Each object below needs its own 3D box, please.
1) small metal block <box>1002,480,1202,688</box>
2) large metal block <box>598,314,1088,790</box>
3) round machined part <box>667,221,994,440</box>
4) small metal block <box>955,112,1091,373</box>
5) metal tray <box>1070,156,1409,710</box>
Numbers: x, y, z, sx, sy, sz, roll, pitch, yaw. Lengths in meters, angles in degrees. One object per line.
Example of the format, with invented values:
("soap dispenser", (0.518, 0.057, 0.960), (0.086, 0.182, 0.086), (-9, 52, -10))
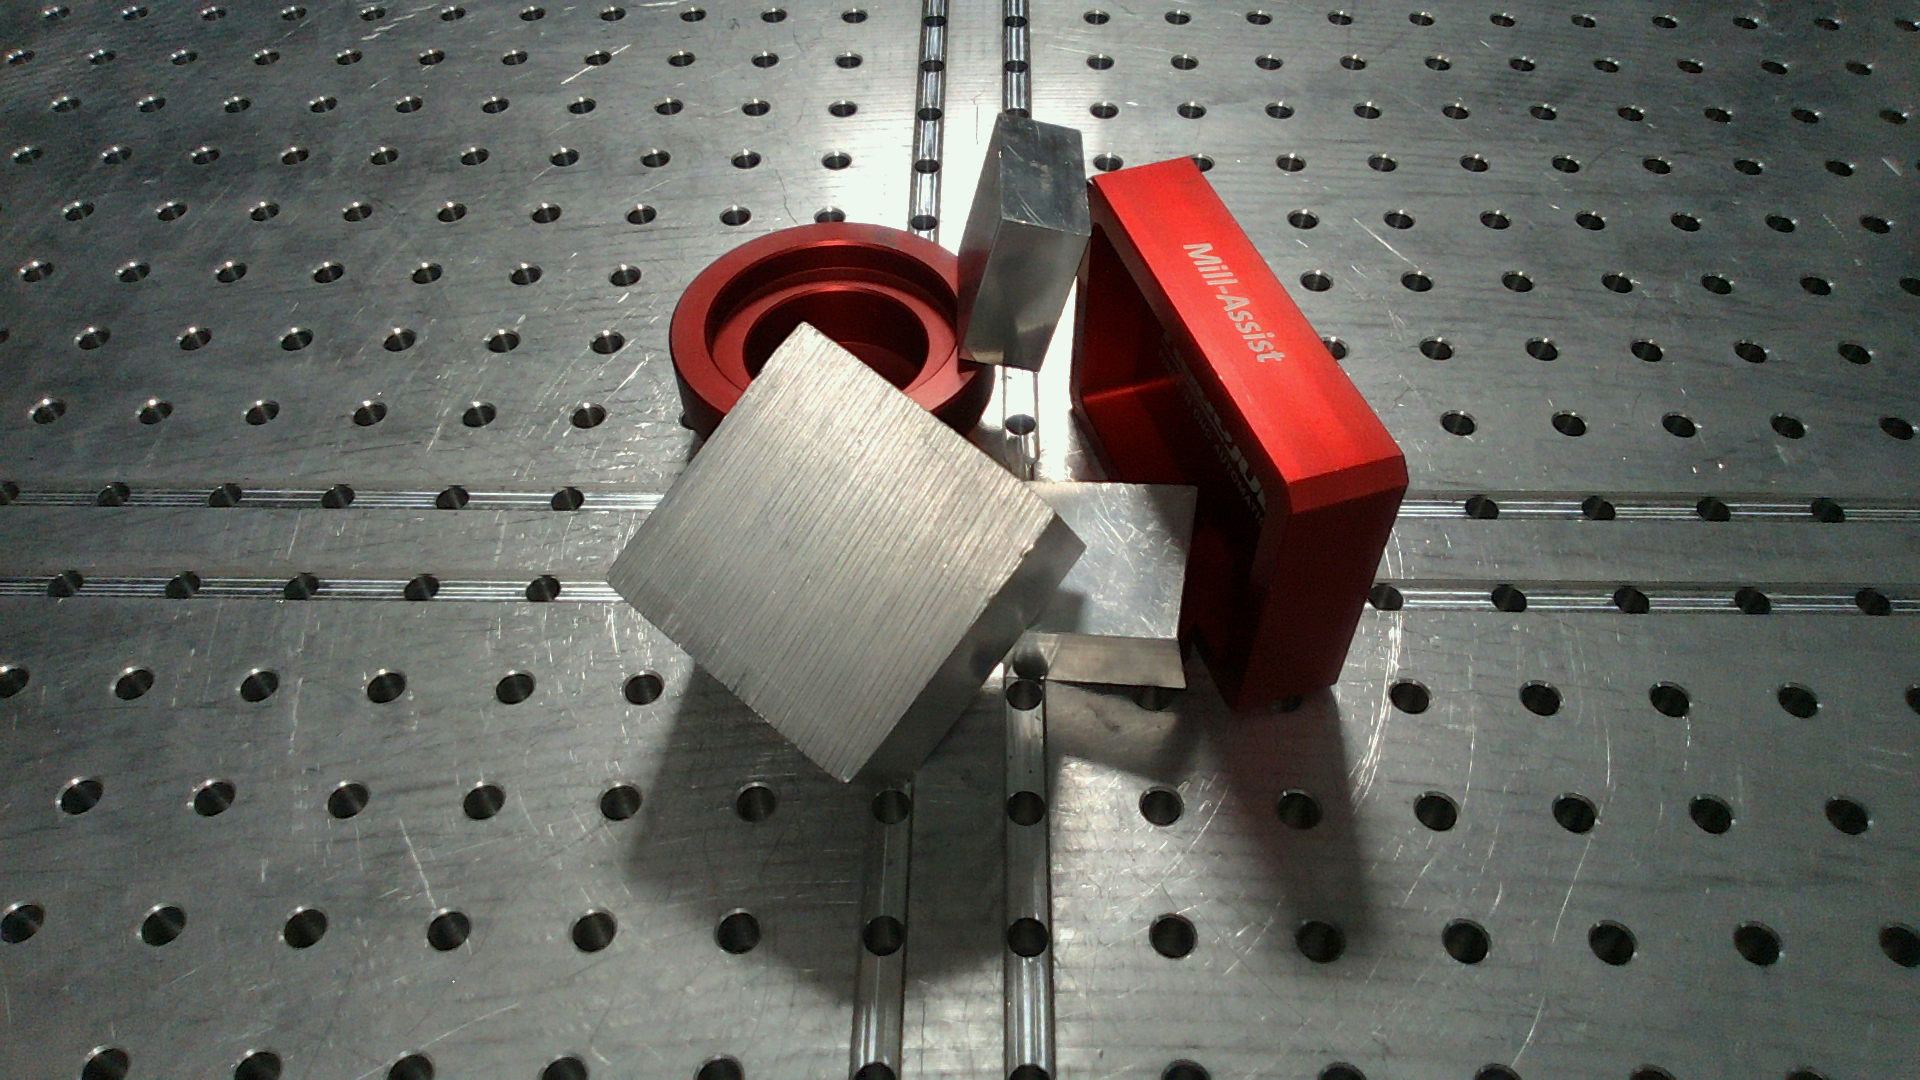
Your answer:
("small metal block", (0.040, 0.011, 0.379), (0.050, 0.025, 0.050), (2, 53, 16))
("large metal block", (-0.027, 0.005, 0.345), (0.080, 0.050, 0.080), (37, 91, 15))
("round machined part", (-0.038, -0.052, 0.427), (0.098, 0.042, 0.098), (0, 50, 0))
("small metal block", (0.017, -0.086, 0.397), (0.025, 0.050, 0.050), (9, 48, -10))
("metal tray", (0.069, -0.031, 0.378), (0.030, 0.090, 0.130), (-14, 51, -11))
